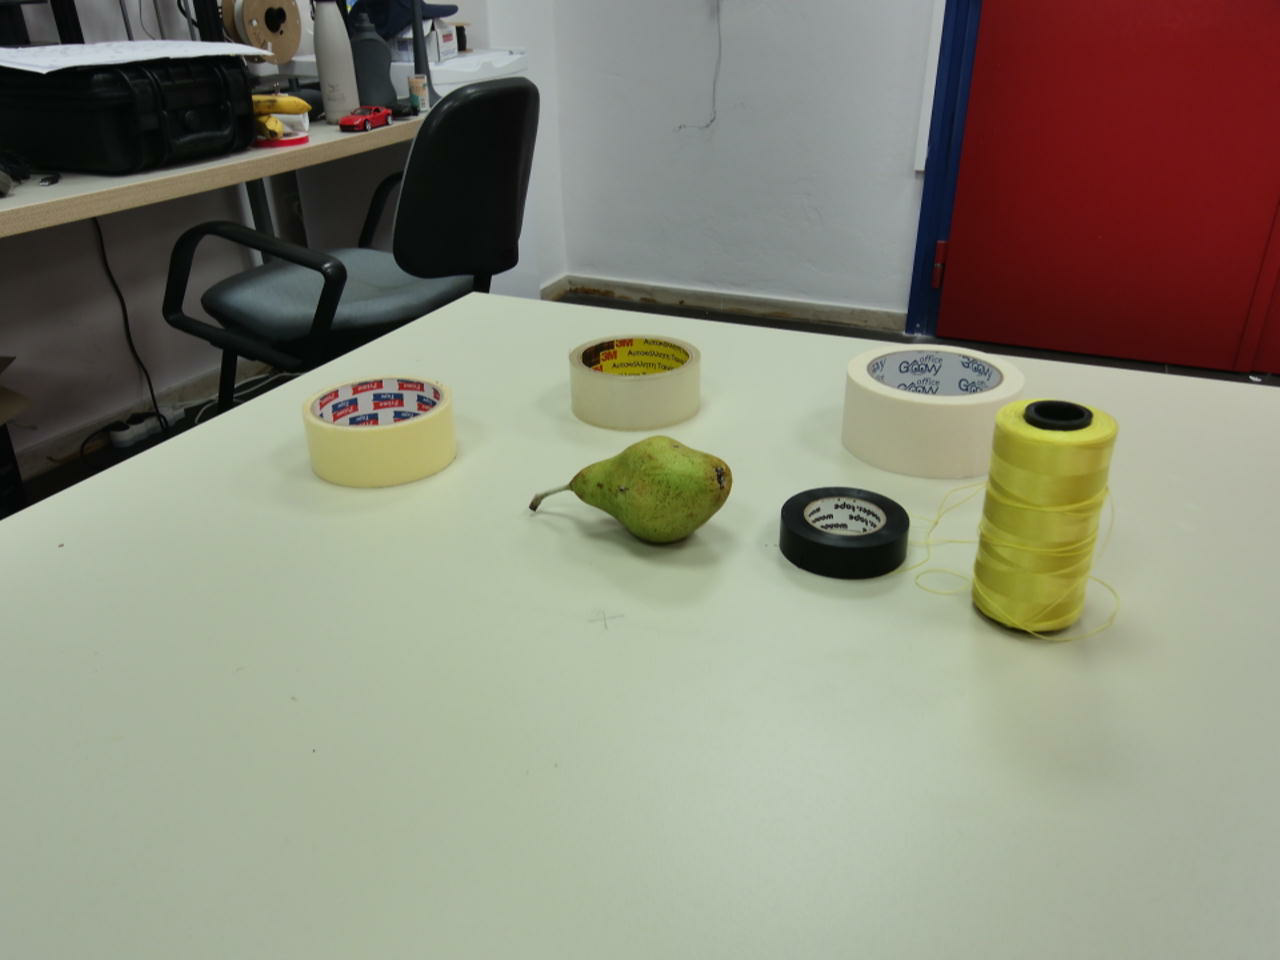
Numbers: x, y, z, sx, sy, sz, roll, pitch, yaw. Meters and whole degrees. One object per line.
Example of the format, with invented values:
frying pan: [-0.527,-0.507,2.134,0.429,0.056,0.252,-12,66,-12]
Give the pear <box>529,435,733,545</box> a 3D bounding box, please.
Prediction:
pear: [-0.003,0.000,0.542,0.111,0.056,0.056,19,31,36]
